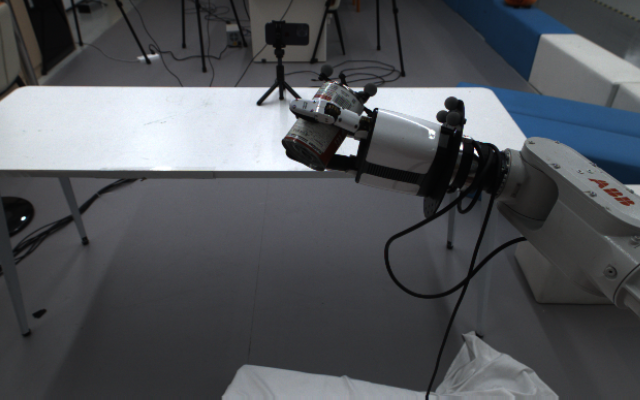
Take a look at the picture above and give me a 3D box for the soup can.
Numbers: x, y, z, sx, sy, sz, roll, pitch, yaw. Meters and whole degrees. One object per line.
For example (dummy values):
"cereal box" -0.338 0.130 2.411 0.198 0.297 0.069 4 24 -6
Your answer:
"soup can" 0.005 -0.099 0.643 0.067 0.067 0.101 26 75 31
